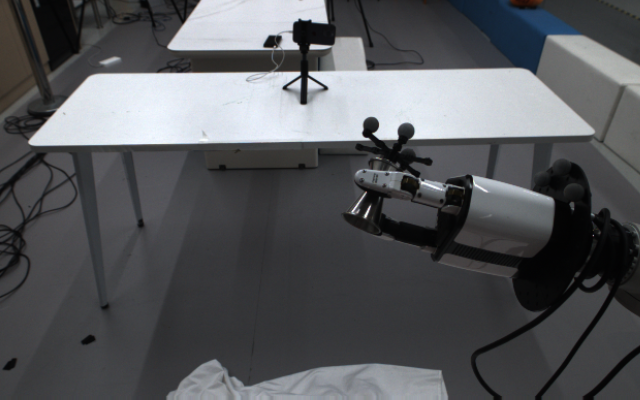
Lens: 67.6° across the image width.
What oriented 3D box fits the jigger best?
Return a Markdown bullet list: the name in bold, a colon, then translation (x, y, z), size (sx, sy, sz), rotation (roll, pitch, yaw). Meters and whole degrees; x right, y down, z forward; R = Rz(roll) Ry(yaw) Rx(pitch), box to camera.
- **jigger**: translation (0.056, -0.007, 0.502), size (0.043, 0.043, 0.071), rotation (19, 72, 23)
